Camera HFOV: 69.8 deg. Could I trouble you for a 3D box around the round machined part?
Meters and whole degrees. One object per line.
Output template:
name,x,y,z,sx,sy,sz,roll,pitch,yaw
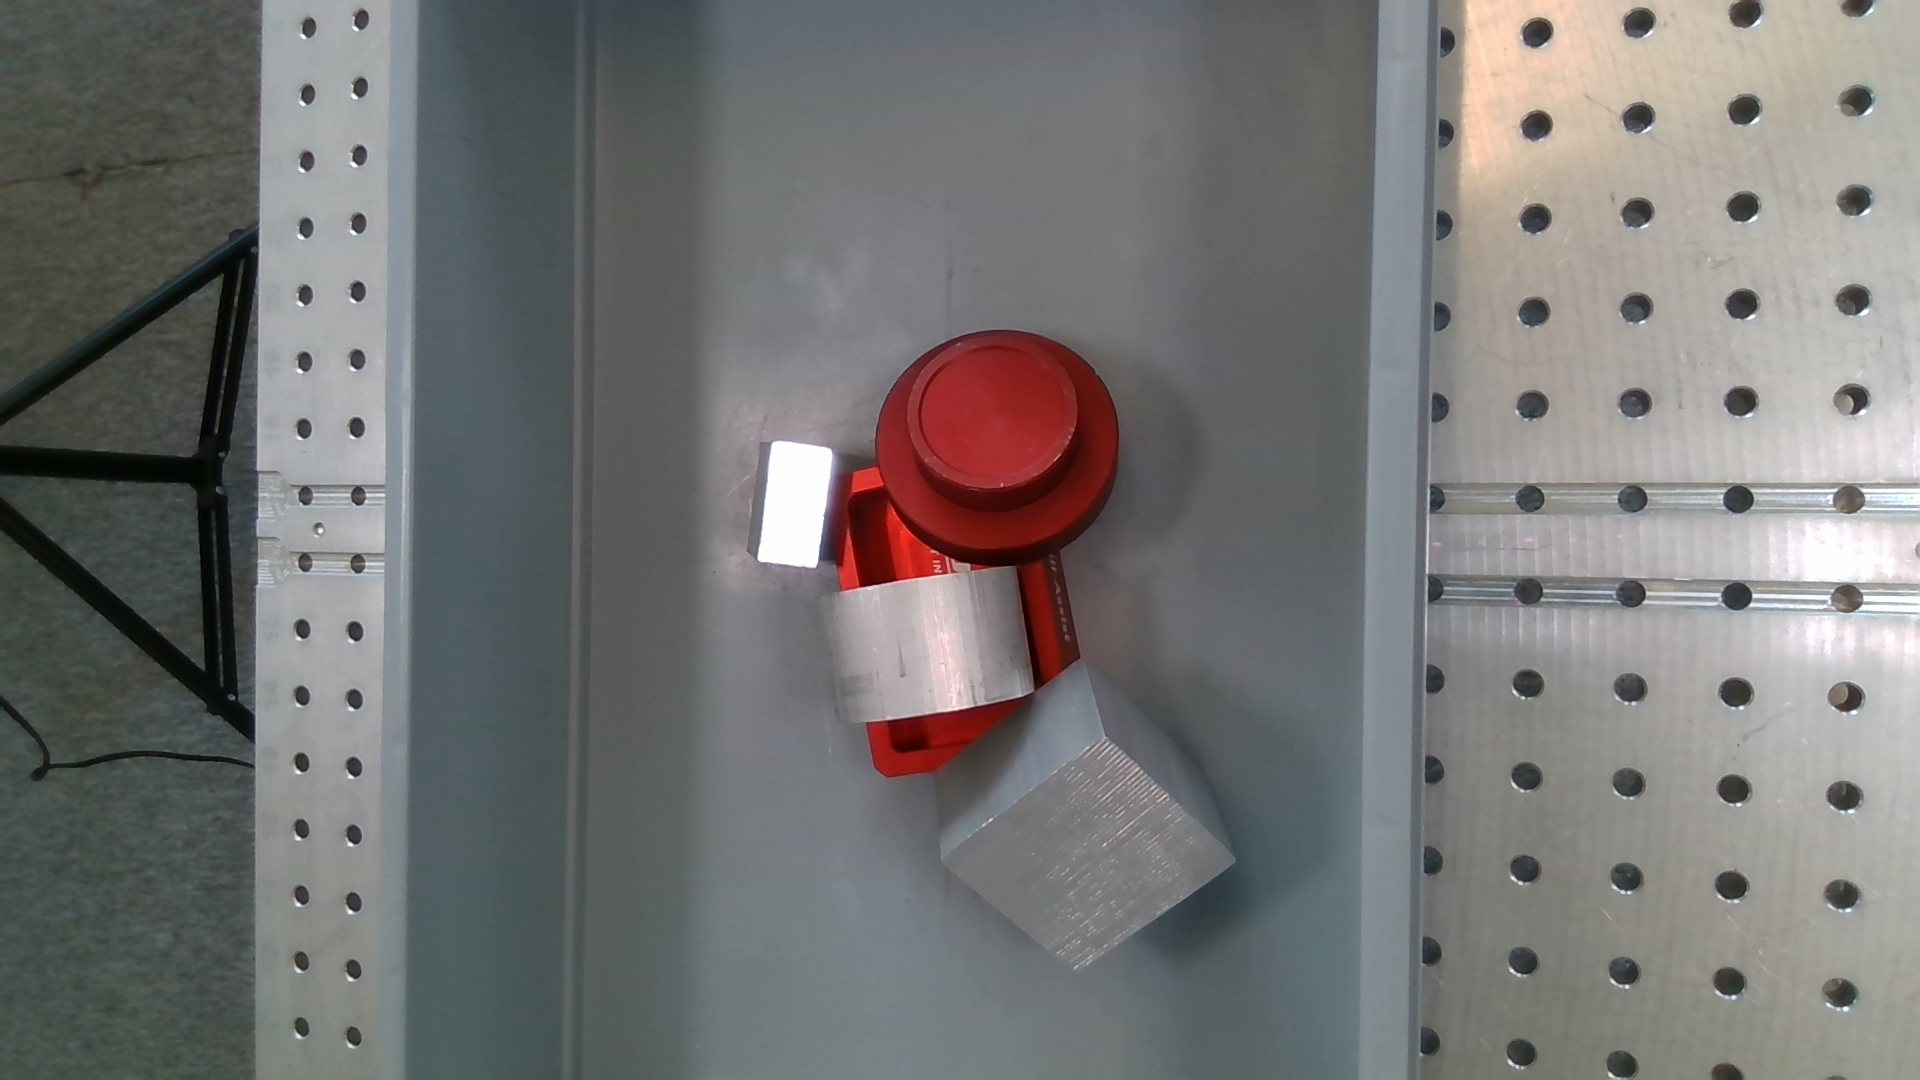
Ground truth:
round machined part,0.014,-0.043,0.550,0.098,0.042,0.098,-2,67,5

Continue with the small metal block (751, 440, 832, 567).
small metal block,-0.075,-0.017,0.596,0.025,0.050,0.050,7,92,-14

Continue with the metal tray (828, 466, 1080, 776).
metal tray,-0.001,0.028,0.584,0.090,0.030,0.130,-12,86,20

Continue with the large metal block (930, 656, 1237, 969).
large metal block,0.046,0.106,0.534,0.080,0.050,0.080,-40,114,16

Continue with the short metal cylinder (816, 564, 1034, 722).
short metal cylinder,-0.014,0.041,0.548,0.080,0.080,0.050,-10,88,20
